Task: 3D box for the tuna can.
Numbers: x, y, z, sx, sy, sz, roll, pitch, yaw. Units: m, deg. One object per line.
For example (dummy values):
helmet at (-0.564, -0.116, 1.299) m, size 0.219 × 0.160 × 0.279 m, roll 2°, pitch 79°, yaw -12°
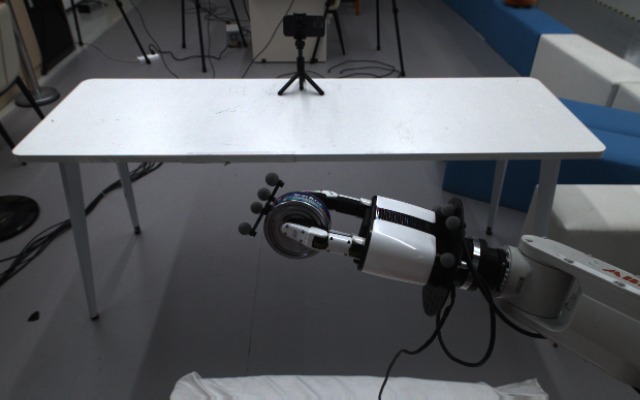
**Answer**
tuna can at (-0.025, 0.037, 0.632) m, size 0.085 × 0.085 × 0.034 m, roll 3°, pitch 21°, yaw 1°
